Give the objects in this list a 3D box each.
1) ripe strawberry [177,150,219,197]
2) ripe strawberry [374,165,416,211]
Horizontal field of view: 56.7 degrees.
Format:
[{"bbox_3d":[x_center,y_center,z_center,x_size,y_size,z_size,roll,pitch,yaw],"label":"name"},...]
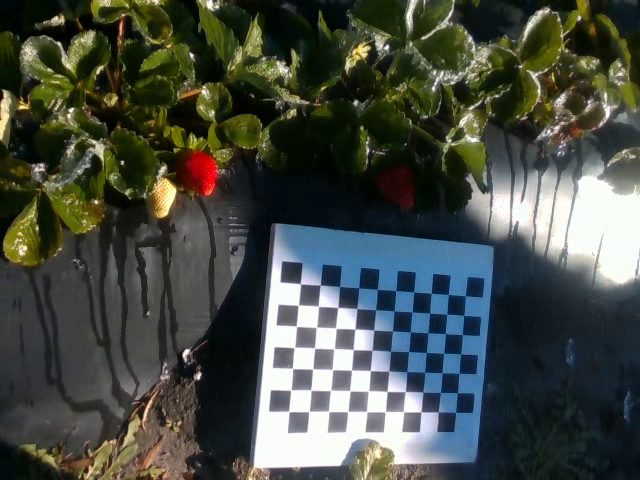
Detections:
[{"bbox_3d":[-0.123,-0.062,0.606,0.043,0.061,0.046,-11,-37,-19],"label":"ripe strawberry"},{"bbox_3d":[0.094,-0.060,0.678,0.049,0.061,0.044,-3,-30,-20],"label":"ripe strawberry"}]
